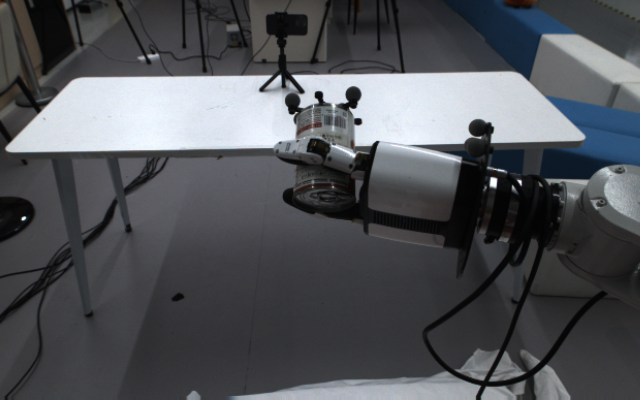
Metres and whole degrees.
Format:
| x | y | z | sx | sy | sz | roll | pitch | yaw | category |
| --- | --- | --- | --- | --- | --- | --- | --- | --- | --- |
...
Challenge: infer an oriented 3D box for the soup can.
| x | y | z | sx | sy | sz | roll | pitch | yaw | category |
| --- | --- | --- | --- | --- | --- | --- | --- | --- | --- |
| 0.007 | -0.045 | 0.528 | 0.067 | 0.067 | 0.101 | 2 | 68 | -1 | soup can |
